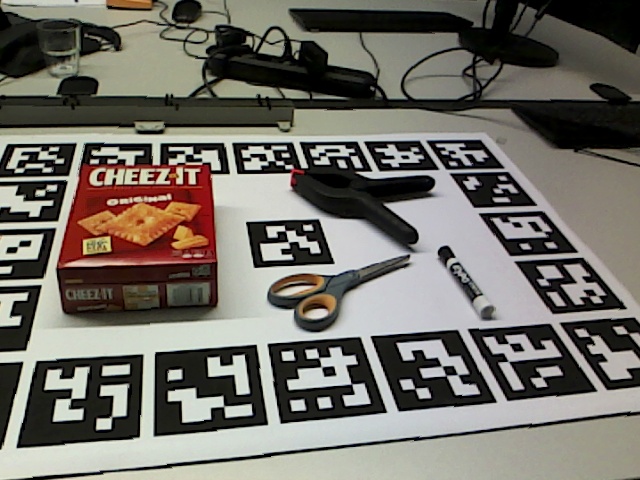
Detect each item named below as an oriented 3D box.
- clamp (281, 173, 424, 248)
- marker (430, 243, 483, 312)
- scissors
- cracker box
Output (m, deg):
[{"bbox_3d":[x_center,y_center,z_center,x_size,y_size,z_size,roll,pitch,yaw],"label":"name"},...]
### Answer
[{"bbox_3d":[0.038,-0.061,0.905,0.203,0.036,0.165,16,35,13],"label":"clamp"},{"bbox_3d":[0.166,0.042,0.766,0.019,0.019,0.122,-5,36,-14],"label":"marker"},{"bbox_3d":[0.026,0.046,0.742,0.202,0.016,0.088,-21,42,-36],"label":"scissors"},{"bbox_3d":[-0.214,-0.011,0.747,0.164,0.072,0.214,-2,36,-11],"label":"cracker box"}]
